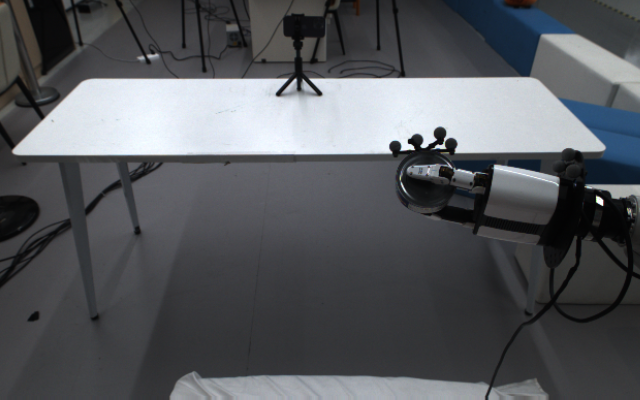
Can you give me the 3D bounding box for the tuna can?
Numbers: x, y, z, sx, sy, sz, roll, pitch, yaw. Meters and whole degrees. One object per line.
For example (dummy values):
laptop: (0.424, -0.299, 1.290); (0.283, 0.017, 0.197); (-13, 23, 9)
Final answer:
tuna can: (0.150, -0.027, 0.685); (0.085, 0.034, 0.085); (-2, 68, 6)
